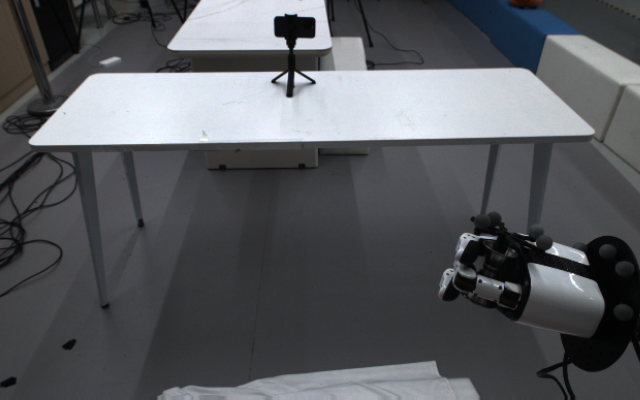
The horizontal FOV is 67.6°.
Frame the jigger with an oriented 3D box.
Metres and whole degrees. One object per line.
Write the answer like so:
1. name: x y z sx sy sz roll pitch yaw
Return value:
1. jigger: 0.201 0.085 0.572 0.043 0.071 0.043 15 17 -5
